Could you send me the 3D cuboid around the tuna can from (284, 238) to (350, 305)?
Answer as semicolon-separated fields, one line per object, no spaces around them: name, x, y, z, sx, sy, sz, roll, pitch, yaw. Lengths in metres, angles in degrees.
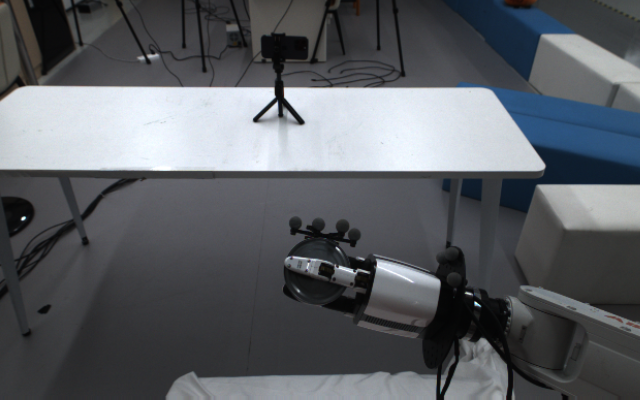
tuna can;-0.003;0.091;0.625;0.085;0.034;0.085;1;72;-3
